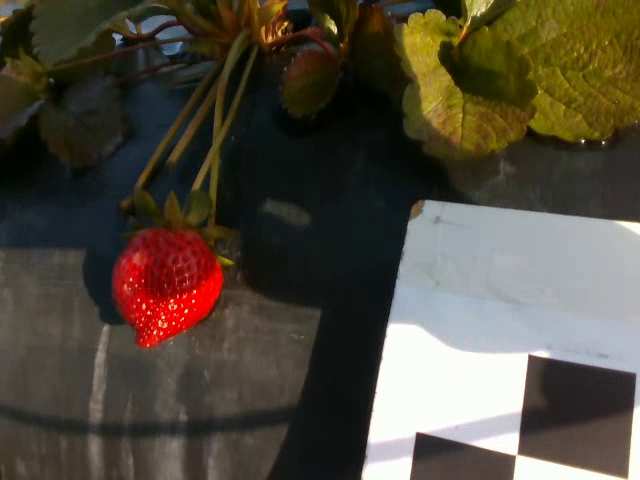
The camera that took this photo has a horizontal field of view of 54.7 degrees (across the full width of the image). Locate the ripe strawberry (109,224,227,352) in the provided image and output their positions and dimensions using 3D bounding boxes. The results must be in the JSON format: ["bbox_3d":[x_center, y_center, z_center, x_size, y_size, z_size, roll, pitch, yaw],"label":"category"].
[{"bbox_3d":[-0.048,0.017,0.190,0.040,0.044,0.037,-11,-33,15],"label":"ripe strawberry"}]
